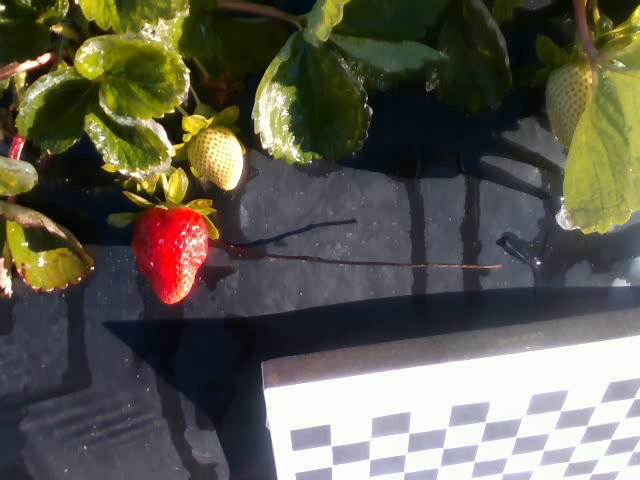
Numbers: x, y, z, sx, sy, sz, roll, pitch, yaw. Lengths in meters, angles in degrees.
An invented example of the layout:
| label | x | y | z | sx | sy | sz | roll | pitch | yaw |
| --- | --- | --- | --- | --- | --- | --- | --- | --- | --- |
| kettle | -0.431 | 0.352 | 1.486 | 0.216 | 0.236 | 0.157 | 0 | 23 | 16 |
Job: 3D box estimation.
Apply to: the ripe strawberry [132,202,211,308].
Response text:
| label | x | y | z | sx | sy | sz | roll | pitch | yaw |
| --- | --- | --- | --- | --- | --- | --- | --- | --- | --- |
| ripe strawberry | -0.056 | 0.010 | 0.238 | 0.039 | 0.039 | 0.040 | -7 | -21 | 11 |
